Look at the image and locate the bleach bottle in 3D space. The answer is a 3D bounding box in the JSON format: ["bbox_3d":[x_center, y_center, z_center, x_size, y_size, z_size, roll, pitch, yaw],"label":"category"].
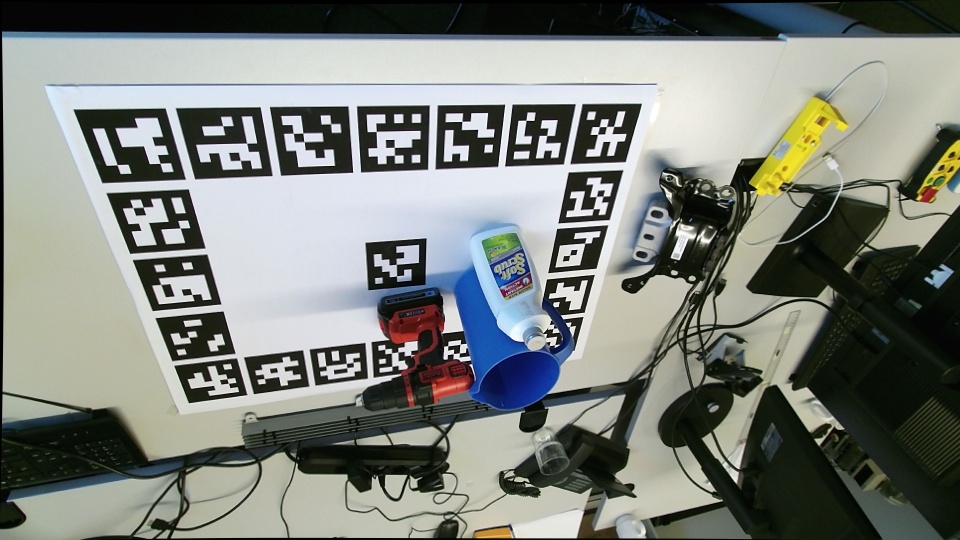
[{"bbox_3d":[0.074,0.053,0.845,0.103,0.250,0.068,-12,127,-11],"label":"bleach bottle"}]

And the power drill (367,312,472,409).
[{"bbox_3d":[-0.116,0.150,0.891,0.185,0.186,0.057,-7,123,-7],"label":"power drill"}]

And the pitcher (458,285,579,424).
[{"bbox_3d":[0.051,0.126,0.916,0.189,0.241,0.133,-27,127,1],"label":"pitcher"}]
